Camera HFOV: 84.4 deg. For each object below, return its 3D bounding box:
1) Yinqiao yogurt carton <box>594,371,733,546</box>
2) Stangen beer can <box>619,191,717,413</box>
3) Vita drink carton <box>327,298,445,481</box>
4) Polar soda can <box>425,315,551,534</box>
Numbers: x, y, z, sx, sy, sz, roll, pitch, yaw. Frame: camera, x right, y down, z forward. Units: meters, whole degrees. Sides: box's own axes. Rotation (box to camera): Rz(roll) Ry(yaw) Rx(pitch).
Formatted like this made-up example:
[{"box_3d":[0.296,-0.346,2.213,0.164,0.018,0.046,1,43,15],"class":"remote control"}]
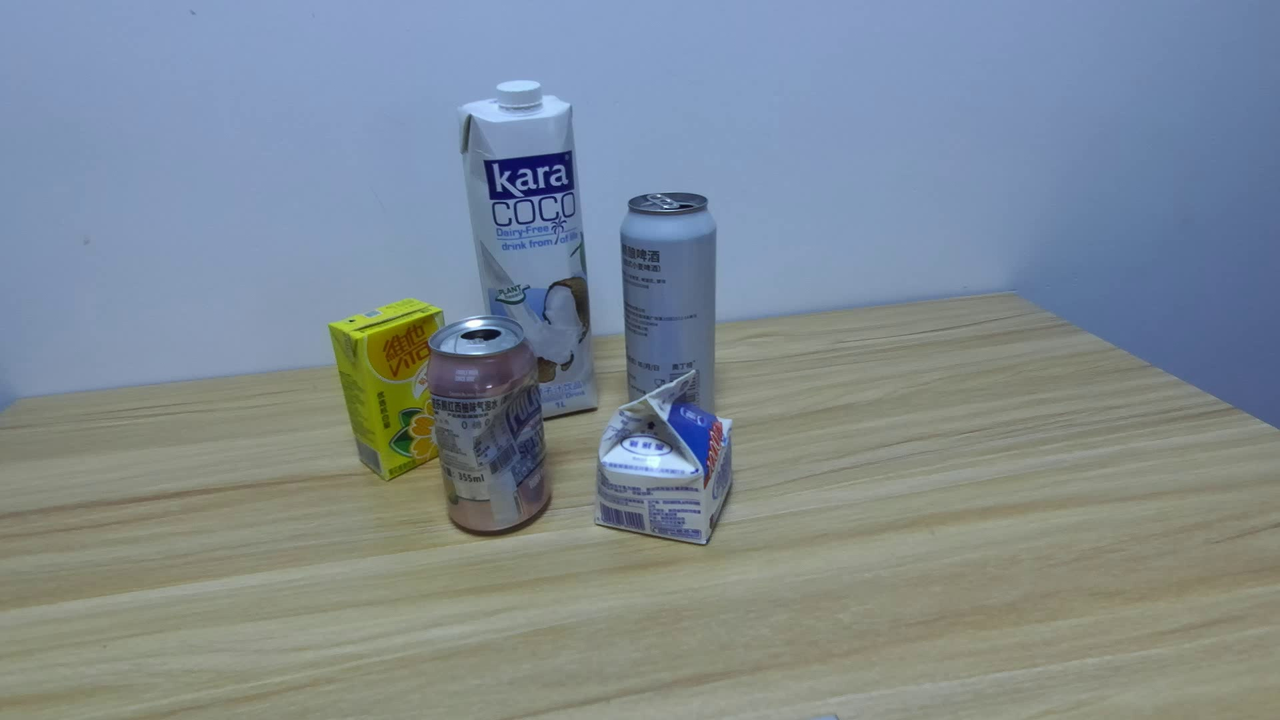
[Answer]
[{"box_3d":[0.015,0.050,0.429,0.077,0.093,0.083,6,27,19],"class":"Yinqiao yogurt carton"},{"box_3d":[0.021,-0.030,0.509,0.067,0.171,0.067,-1,22,1],"class":"Stangen beer can"},{"box_3d":[-0.169,0.019,0.498,0.043,0.109,0.067,19,32,40],"class":"Vita drink carton"},{"box_3d":[-0.091,0.040,0.434,0.074,0.122,0.067,-19,29,-30],"class":"Polar soda can"}]
